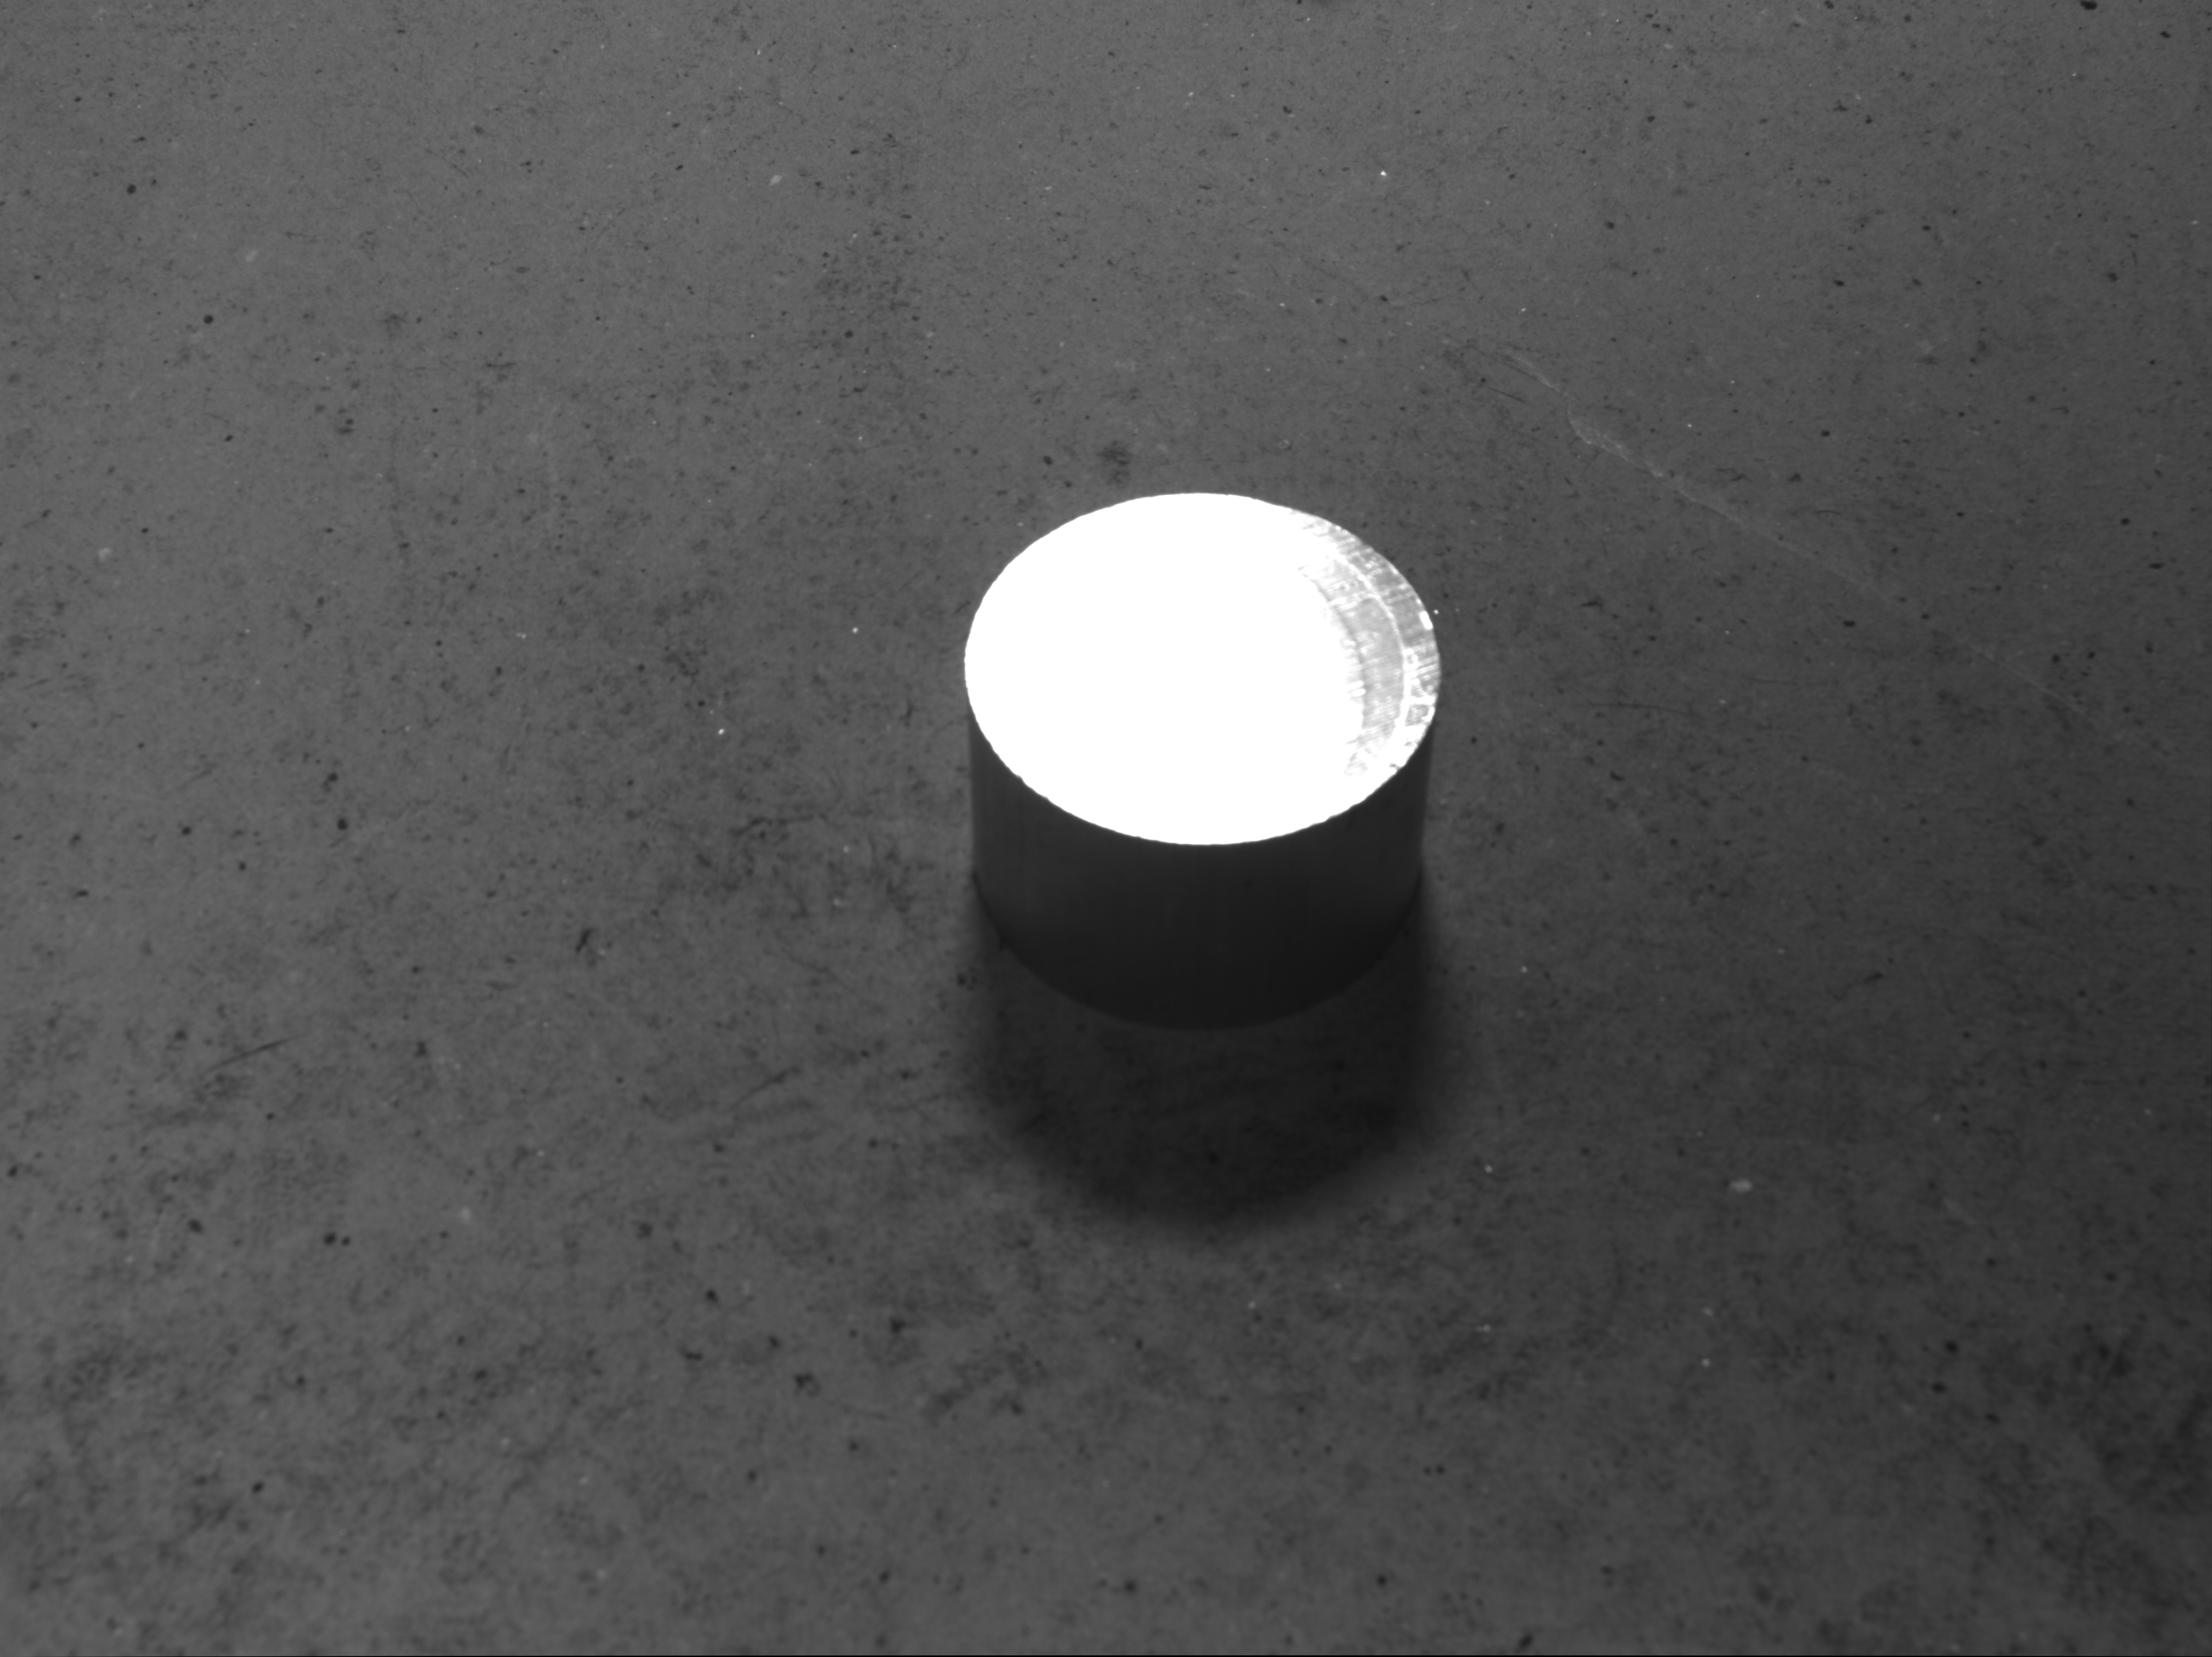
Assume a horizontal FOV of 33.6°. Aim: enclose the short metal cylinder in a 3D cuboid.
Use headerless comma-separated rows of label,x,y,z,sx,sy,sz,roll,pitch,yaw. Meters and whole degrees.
short metal cylinder,0.019,-0.012,0.636,0.080,0.050,0.080,0,50,0
